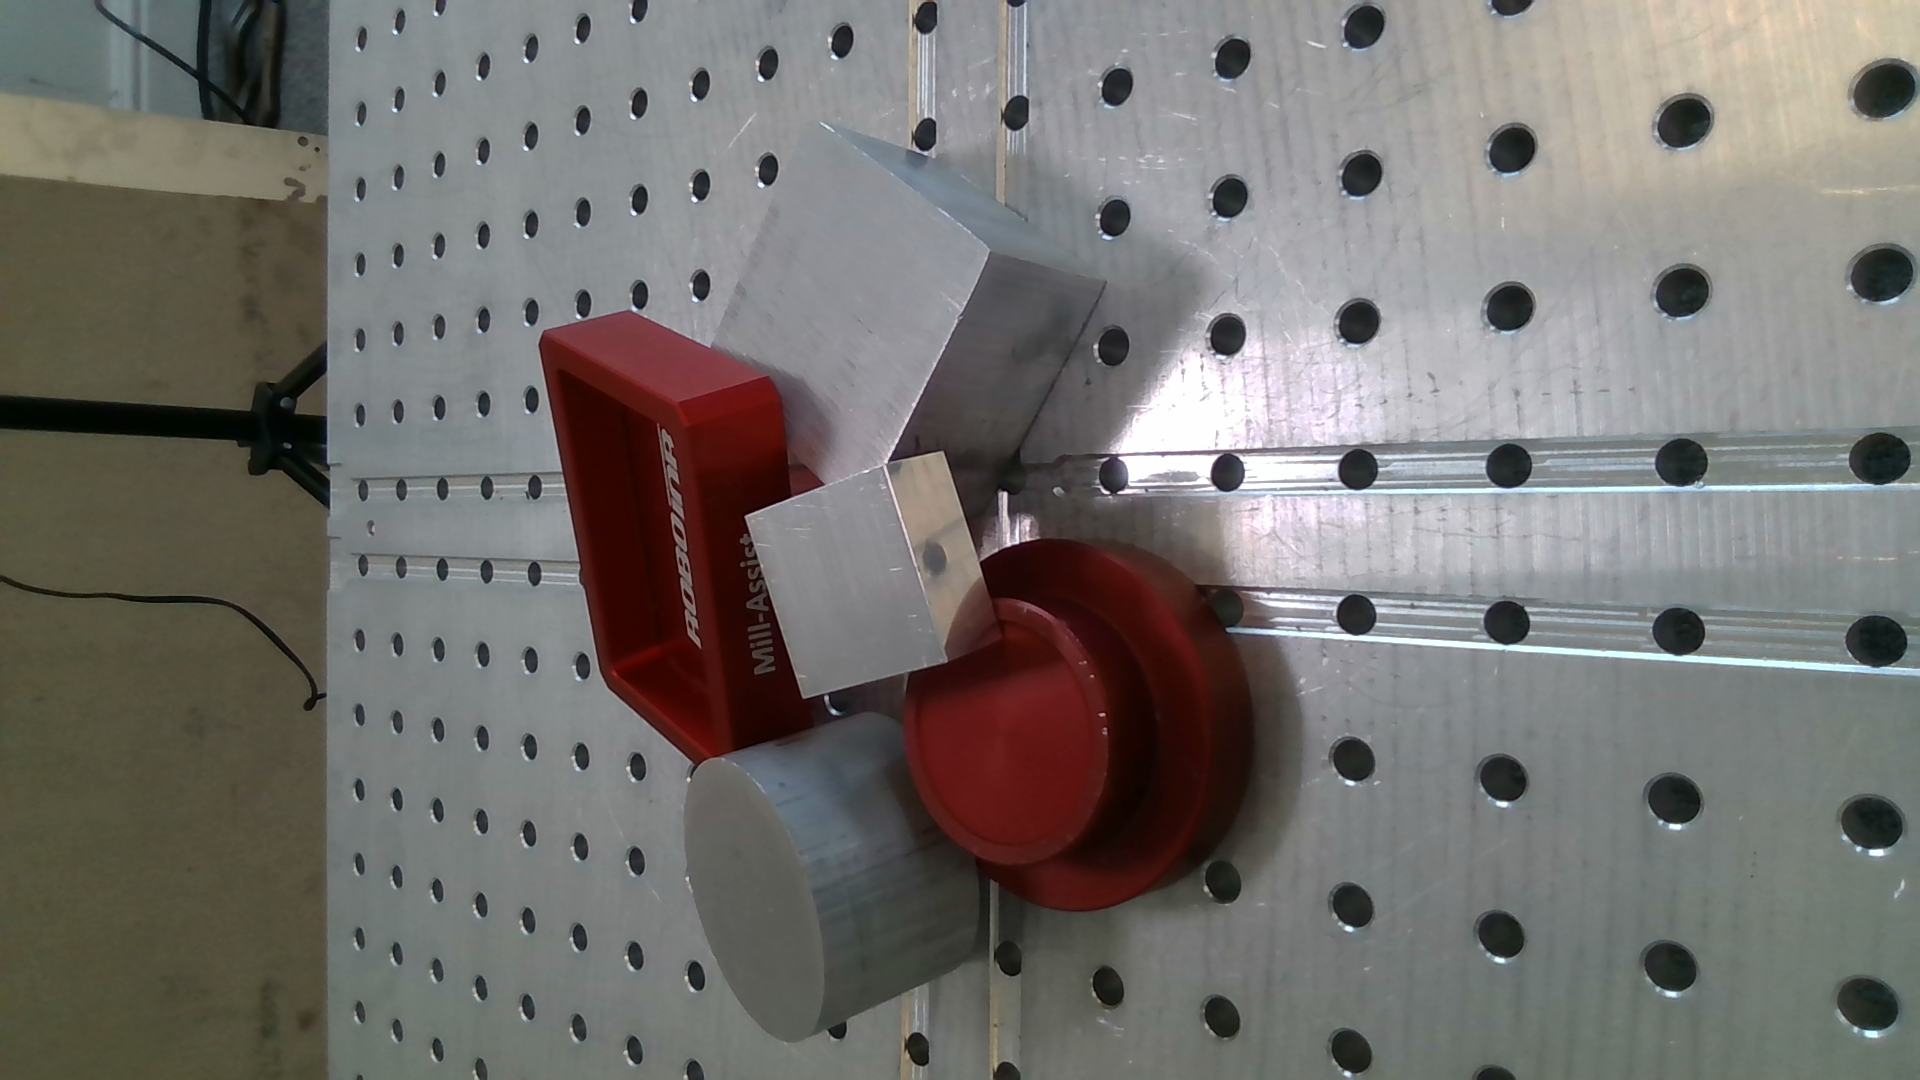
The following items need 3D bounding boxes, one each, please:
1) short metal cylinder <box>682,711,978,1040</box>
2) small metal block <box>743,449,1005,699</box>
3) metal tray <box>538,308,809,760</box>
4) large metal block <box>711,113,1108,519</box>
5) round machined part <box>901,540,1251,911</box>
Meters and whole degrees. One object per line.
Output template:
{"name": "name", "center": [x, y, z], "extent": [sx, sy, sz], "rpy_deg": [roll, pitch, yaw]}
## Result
{"name": "short metal cylinder", "center": [-0.039, 0.095, 0.397], "extent": [0.080, 0.050, 0.080], "rpy_deg": [22, 119, 49]}
{"name": "small metal block", "center": [-0.022, 0.009, 0.352], "extent": [0.050, 0.025, 0.050], "rpy_deg": [-17, 90, 36]}
{"name": "metal tray", "center": [-0.088, 0.003, 0.427], "extent": [0.090, 0.030, 0.130], "rpy_deg": [28, 130, 44]}
{"name": "large metal block", "center": [-0.018, -0.062, 0.392], "extent": [0.080, 0.050, 0.080], "rpy_deg": [43, 116, 31]}
{"name": "round machined part", "center": [0.023, 0.049, 0.364], "extent": [0.098, 0.042, 0.098], "rpy_deg": [0, 91, 40]}
